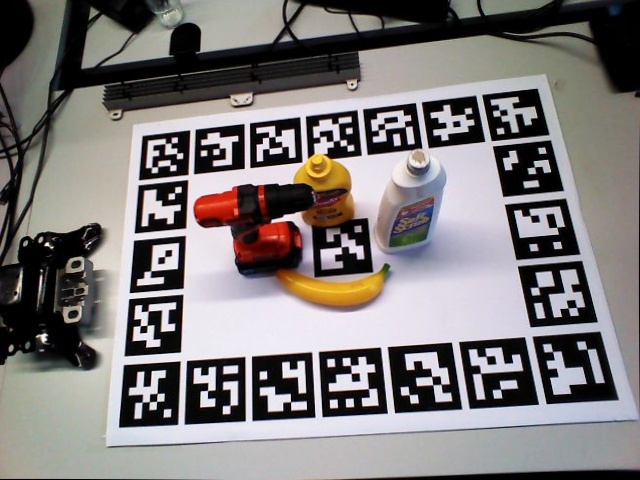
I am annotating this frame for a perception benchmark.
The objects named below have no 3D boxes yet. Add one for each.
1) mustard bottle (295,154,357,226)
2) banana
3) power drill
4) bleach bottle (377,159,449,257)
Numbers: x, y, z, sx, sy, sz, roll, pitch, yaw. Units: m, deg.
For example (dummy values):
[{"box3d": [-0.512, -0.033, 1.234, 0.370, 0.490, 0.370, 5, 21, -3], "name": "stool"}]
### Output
[{"box3d": [0.010, -0.084, 0.836, 0.096, 0.192, 0.058, -4, 69, 4], "name": "mustard bottle"}, {"box3d": [0.028, 0.075, 0.855, 0.198, 0.039, 0.074, -2, 74, 8], "name": "banana"}, {"box3d": [-0.091, -0.026, 0.807, 0.185, 0.187, 0.057, -7, 62, 1], "name": "power drill"}, {"box3d": [0.139, -0.048, 0.784, 0.103, 0.251, 0.067, -12, 70, 2], "name": "bleach bottle"}]
